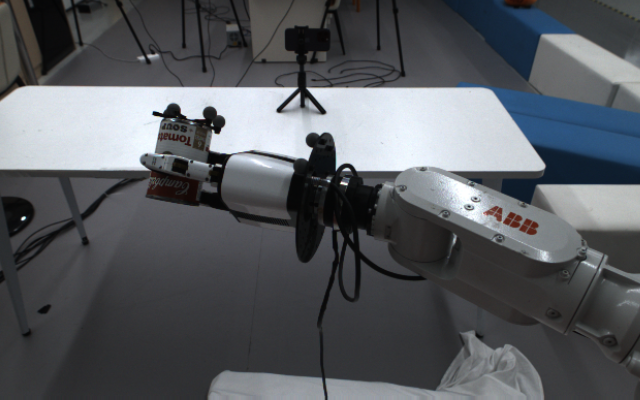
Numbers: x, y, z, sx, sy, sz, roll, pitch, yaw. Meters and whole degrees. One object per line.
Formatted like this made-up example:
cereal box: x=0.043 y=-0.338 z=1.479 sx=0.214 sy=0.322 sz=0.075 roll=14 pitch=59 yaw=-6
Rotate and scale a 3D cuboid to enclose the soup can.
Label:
soup can: x=-0.181 y=-0.046 z=0.626 sx=0.067 sy=0.101 sz=0.067 roll=9 pitch=-5 yaw=1
